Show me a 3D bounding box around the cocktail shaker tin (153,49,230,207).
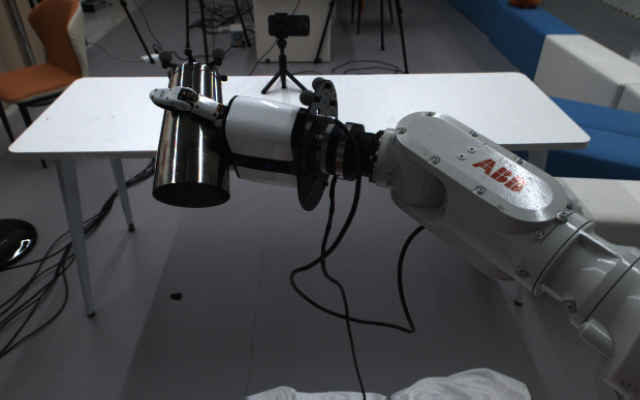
[{"bbox_3d":[-0.161,-0.084,0.614,0.093,0.093,0.170,-2,71,-6],"label":"cocktail shaker tin"}]
